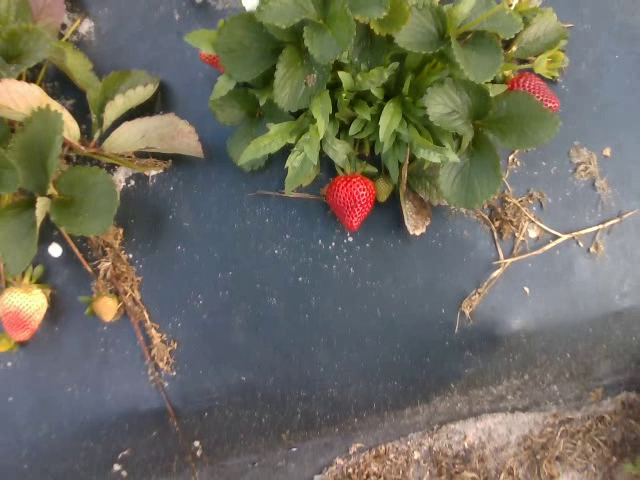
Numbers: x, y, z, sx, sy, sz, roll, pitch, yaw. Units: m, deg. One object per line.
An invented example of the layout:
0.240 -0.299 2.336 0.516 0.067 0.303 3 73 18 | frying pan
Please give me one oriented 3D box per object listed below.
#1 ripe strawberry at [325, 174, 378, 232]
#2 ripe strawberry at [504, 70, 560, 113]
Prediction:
0.023 -0.030 0.464 0.043 0.051 0.043 -3 -8 -4 | ripe strawberry
0.165 -0.110 0.467 0.046 0.043 0.046 20 17 21 | ripe strawberry
